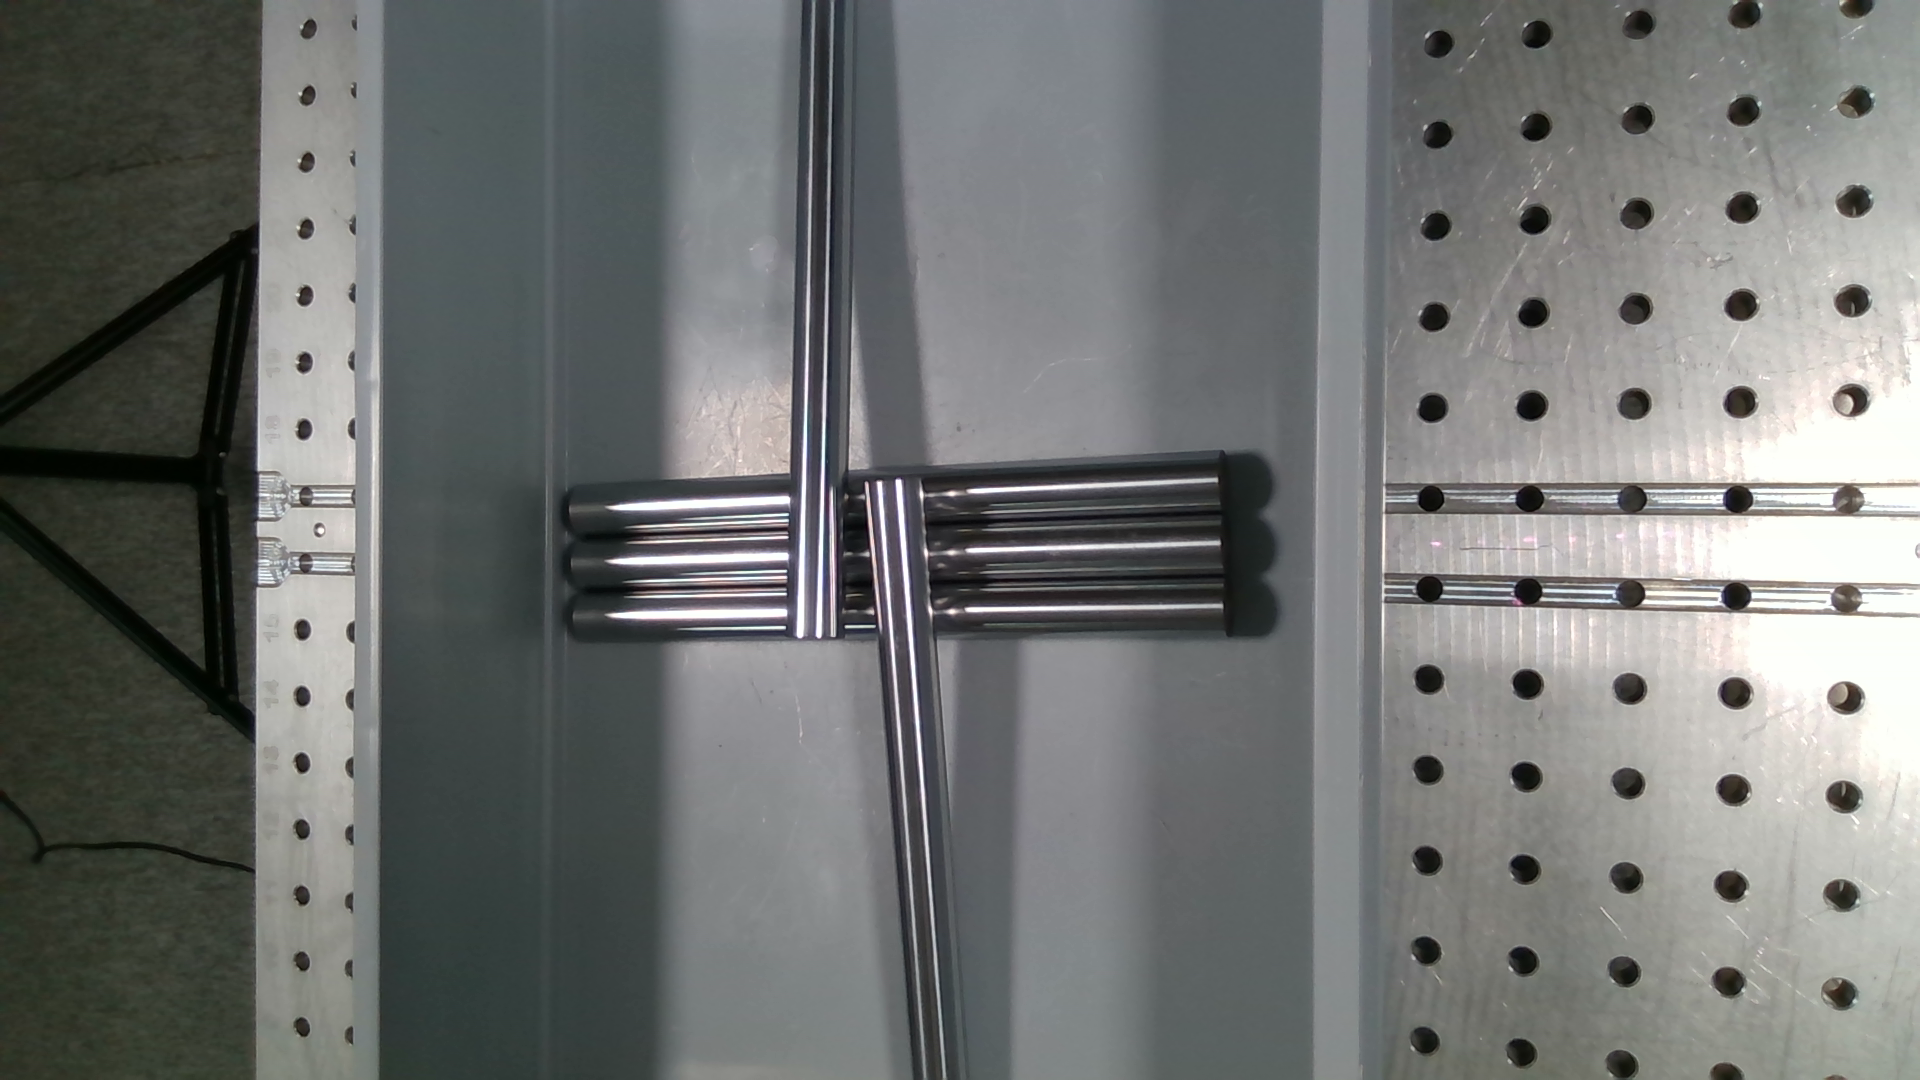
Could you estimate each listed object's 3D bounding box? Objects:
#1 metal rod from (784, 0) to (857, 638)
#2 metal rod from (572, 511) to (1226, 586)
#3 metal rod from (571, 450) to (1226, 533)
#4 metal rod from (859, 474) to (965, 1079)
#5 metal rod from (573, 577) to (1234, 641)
[{"bbox_3d":[-0.059,-0.108,0.588,0.025,0.025,0.300,-1,84,20],"label":"metal rod"},{"bbox_3d":[-0.035,0.005,0.598,0.300,0.025,0.025,-2,90,20],"label":"metal rod"},{"bbox_3d":[-0.036,-0.019,0.598,0.300,0.025,0.025,-2,90,20],"label":"metal rod"},{"bbox_3d":[-0.018,0.123,0.574,0.025,0.025,0.300,-2,96,20],"label":"metal rod"},{"bbox_3d":[-0.034,0.031,0.598,0.300,0.025,0.025,-2,90,20],"label":"metal rod"}]
